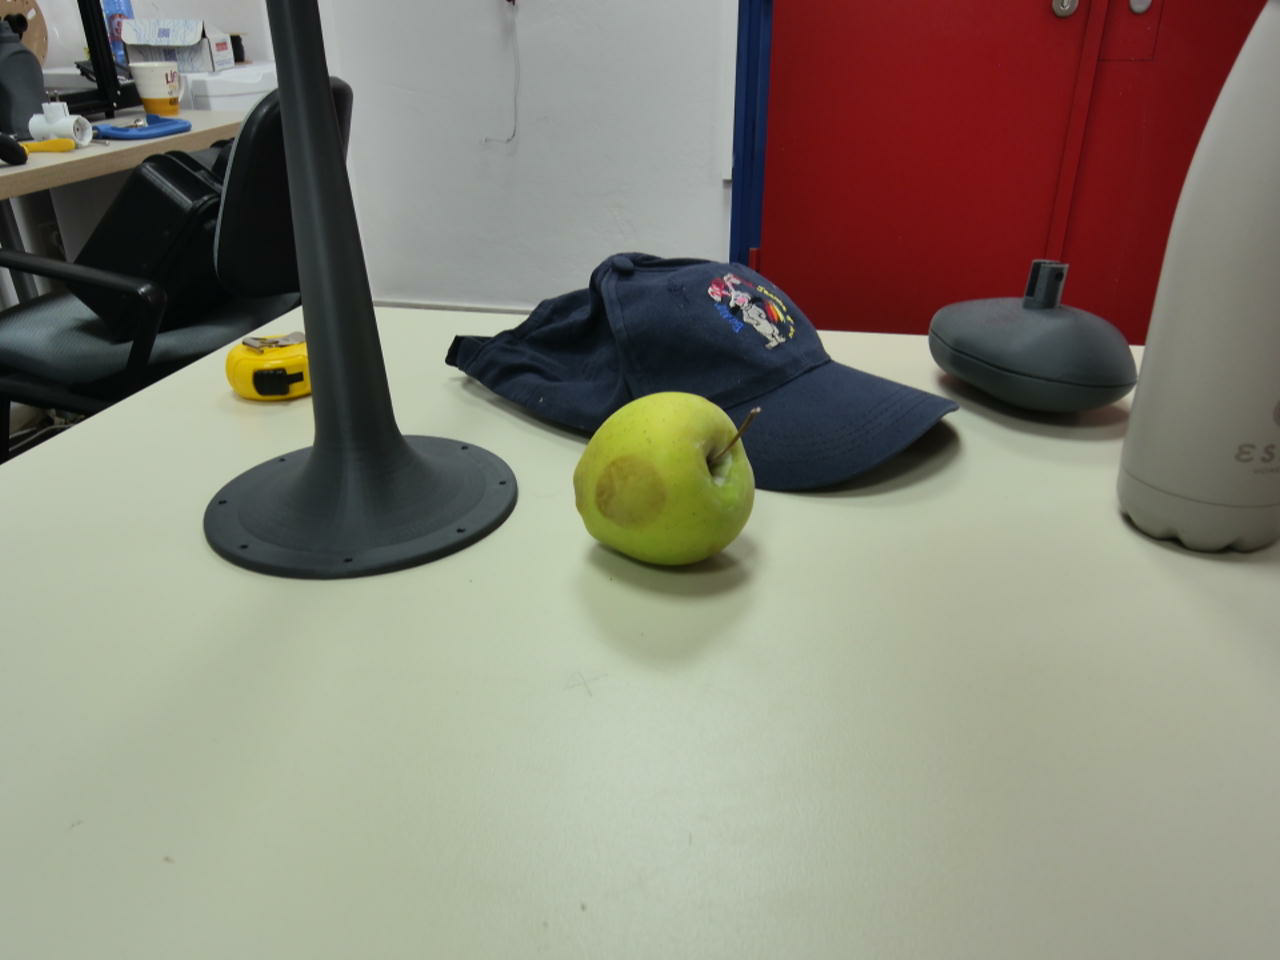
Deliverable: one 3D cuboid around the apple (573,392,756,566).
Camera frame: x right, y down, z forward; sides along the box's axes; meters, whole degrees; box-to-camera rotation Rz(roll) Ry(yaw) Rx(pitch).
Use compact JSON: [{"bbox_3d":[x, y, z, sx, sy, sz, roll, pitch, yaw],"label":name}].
[{"bbox_3d":[0.011,-0.002,0.435,0.072,0.075,0.077,-15,28,-30],"label":"apple"}]
